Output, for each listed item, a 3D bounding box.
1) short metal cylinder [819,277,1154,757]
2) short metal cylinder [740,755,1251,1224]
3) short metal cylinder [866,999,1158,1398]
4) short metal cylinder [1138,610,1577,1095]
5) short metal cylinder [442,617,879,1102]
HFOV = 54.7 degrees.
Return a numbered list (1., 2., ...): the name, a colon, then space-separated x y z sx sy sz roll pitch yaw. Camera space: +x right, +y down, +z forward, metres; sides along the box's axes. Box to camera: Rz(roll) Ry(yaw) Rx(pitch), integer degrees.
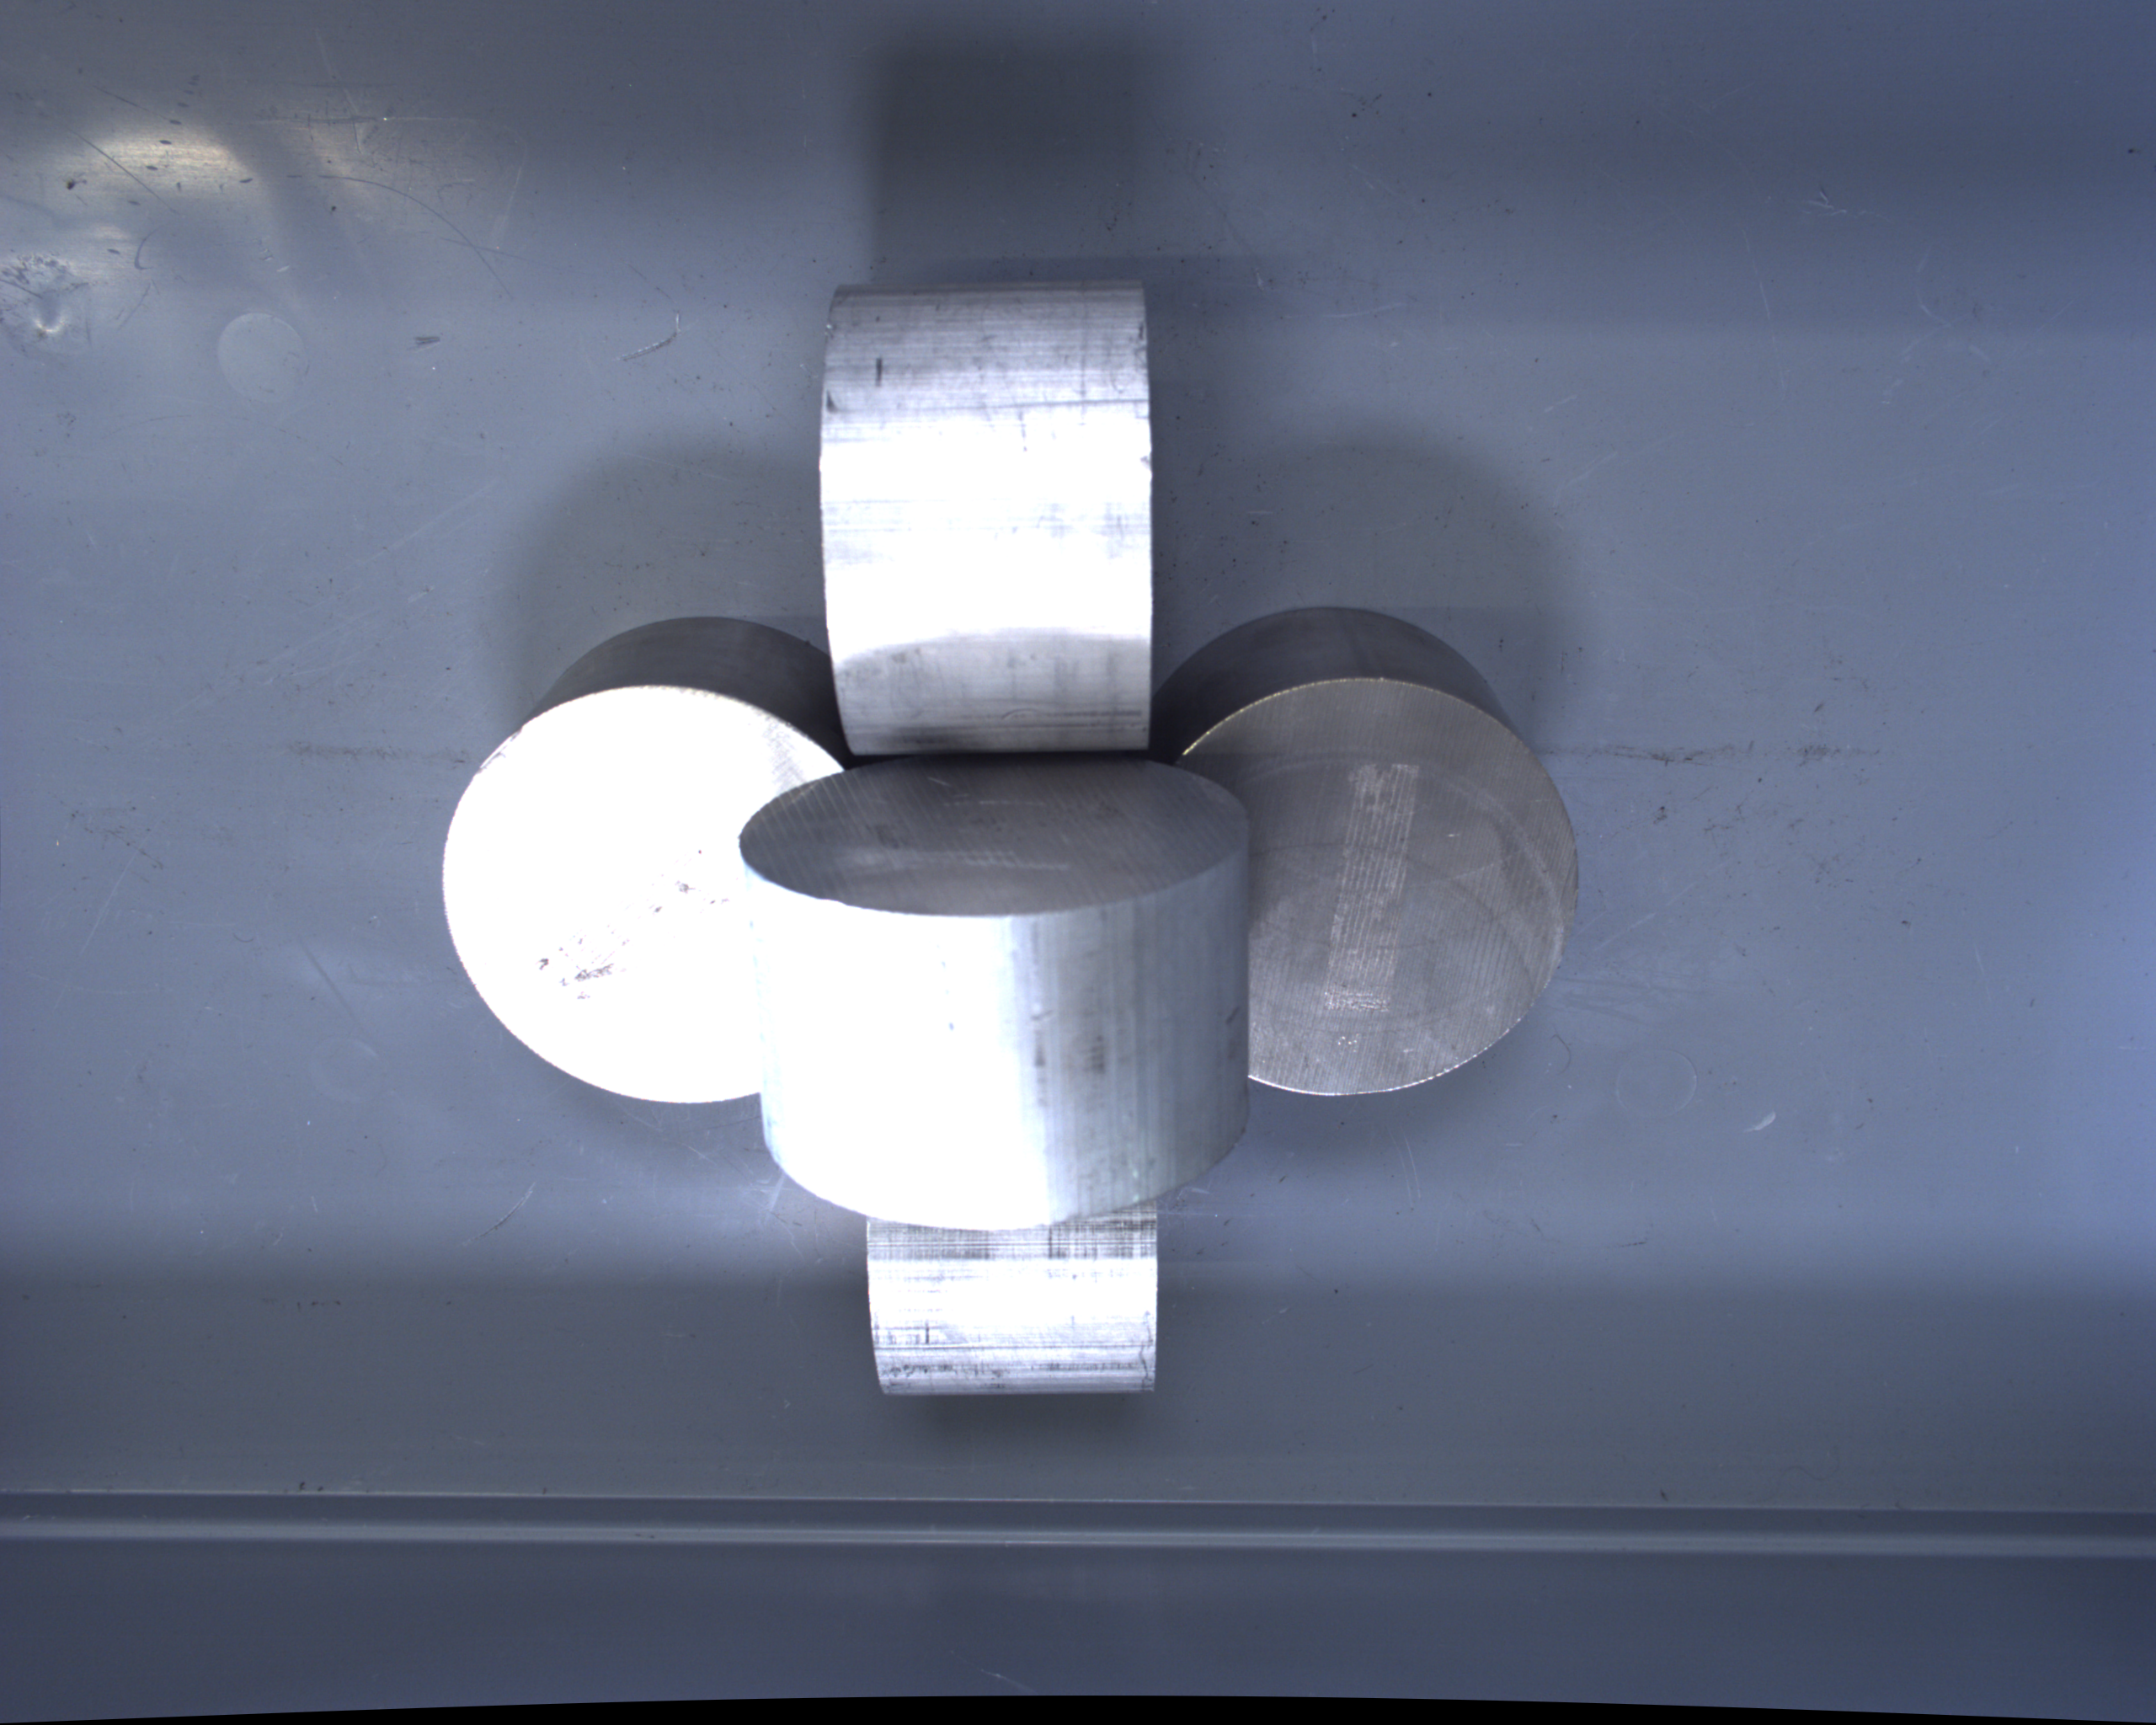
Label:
1. short metal cylinder: -0.014 -0.059 0.358 0.050 0.080 0.079 -2 110 0
2. short metal cylinder: -0.012 0.017 0.339 0.080 0.080 0.050 -1 110 0
3. short metal cylinder: -0.012 0.062 0.403 0.050 0.080 0.079 -2 110 0
4. short metal cylinder: 0.049 -0.003 0.395 0.081 0.050 0.079 0 110 0
5. short metal cylinder: -0.073 -0.002 0.395 0.081 0.050 0.079 0 110 0
